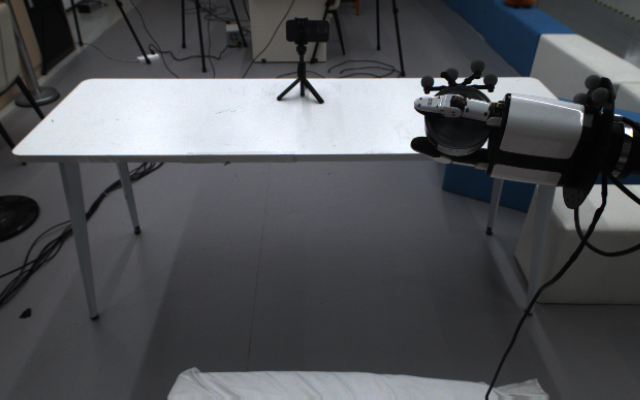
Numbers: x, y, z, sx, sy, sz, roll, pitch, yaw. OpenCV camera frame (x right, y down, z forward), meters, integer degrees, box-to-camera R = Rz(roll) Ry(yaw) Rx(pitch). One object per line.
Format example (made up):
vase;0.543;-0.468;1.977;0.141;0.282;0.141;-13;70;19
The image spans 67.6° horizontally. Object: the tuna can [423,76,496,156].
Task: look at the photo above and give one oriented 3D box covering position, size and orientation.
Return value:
tuna can;0.178;-0.103;0.623;0.085;0.034;0.085;-4;71;11
